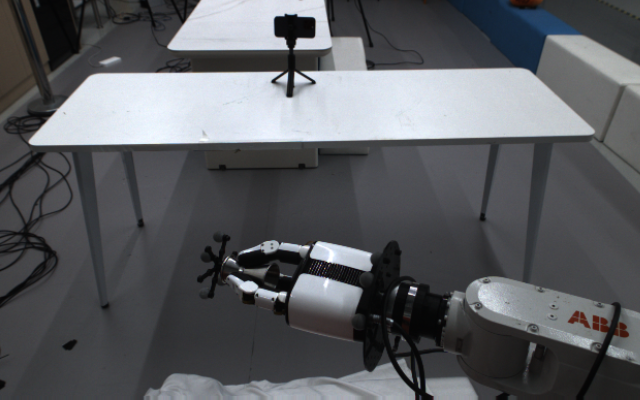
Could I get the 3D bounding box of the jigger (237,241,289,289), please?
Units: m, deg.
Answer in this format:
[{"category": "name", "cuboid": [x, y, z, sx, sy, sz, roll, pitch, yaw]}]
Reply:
[{"category": "jigger", "cuboid": [-0.089, 0.098, 0.653, 0.071, 0.043, 0.043, 10, 35, 22]}]
